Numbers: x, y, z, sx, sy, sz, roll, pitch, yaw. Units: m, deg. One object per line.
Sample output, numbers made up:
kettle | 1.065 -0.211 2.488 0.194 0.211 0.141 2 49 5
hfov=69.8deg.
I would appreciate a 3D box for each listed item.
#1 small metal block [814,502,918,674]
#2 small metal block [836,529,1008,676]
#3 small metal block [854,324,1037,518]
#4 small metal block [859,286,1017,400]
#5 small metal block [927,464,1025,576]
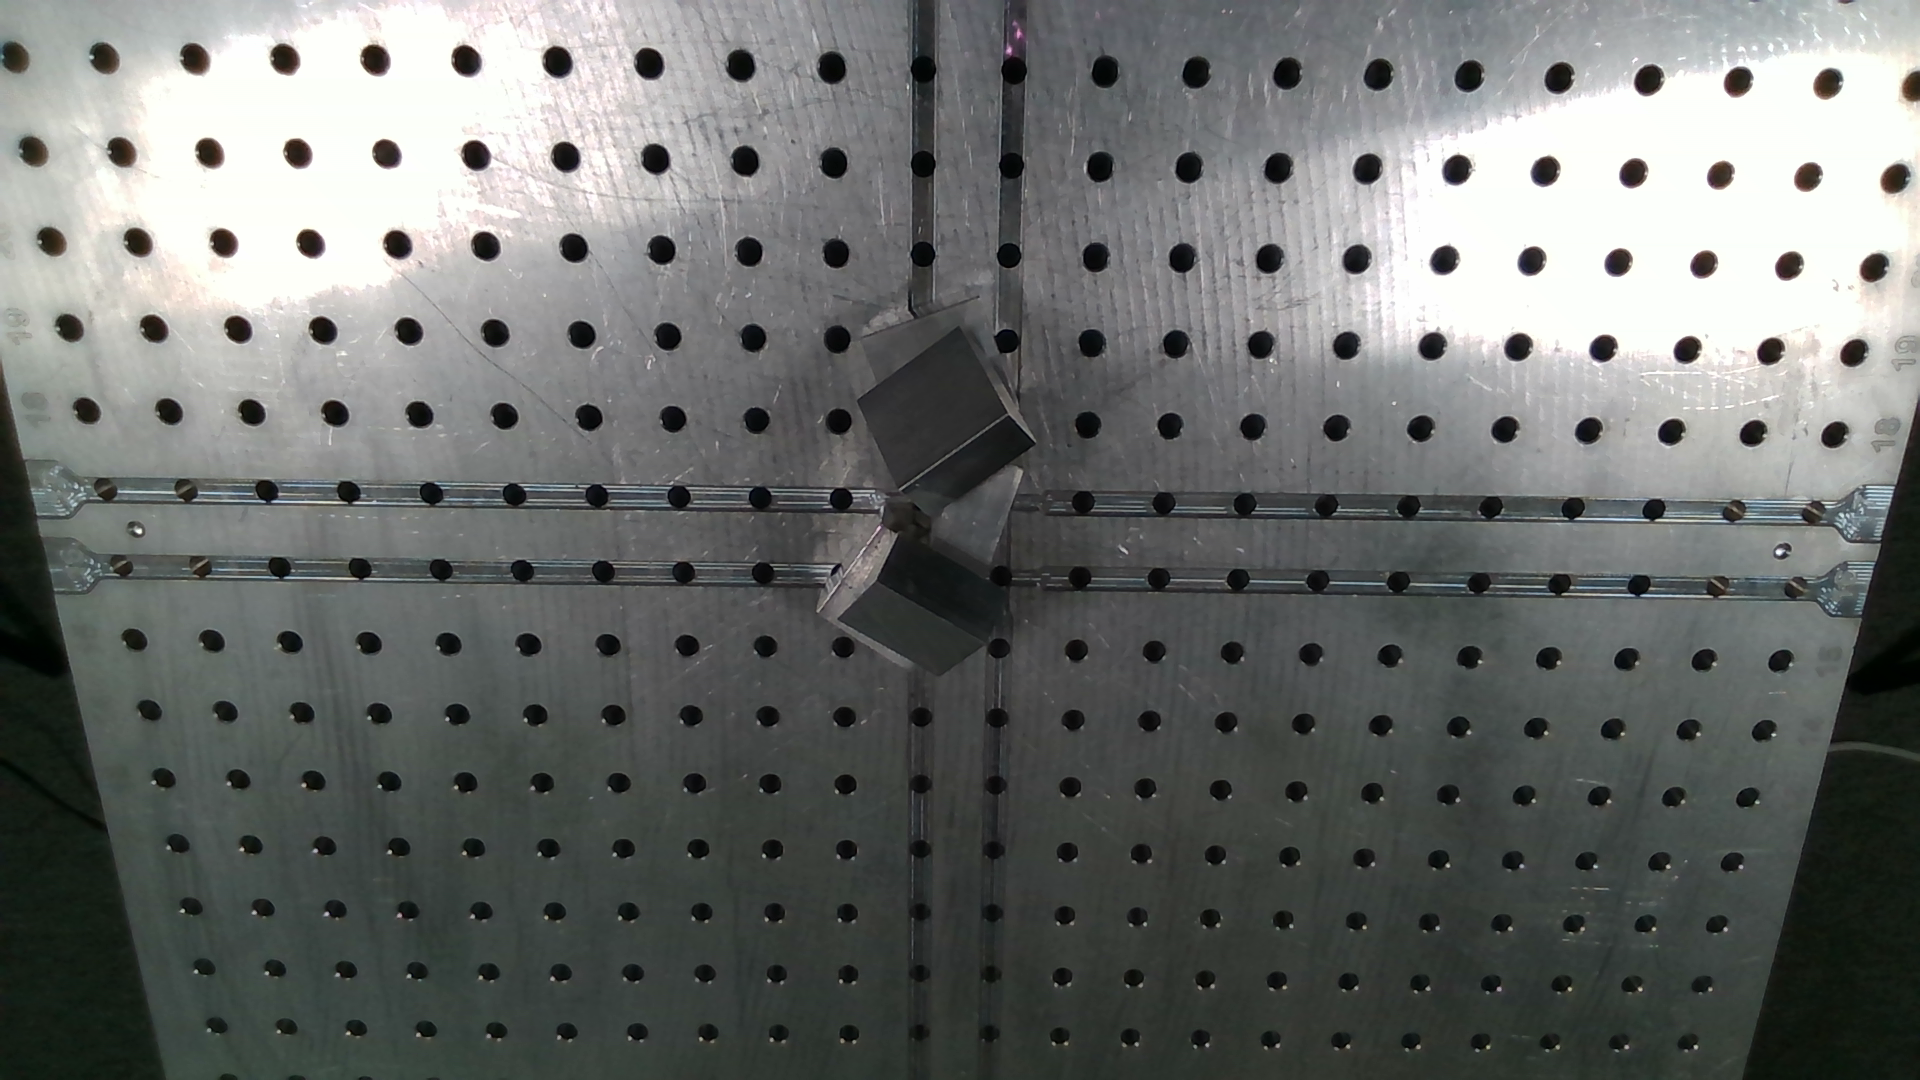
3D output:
small metal block | -0.027 0.021 0.595 0.050 0.025 0.050 34 107 -12
small metal block | -0.016 0.026 0.555 0.050 0.025 0.050 29 152 -11
small metal block | -0.006 -0.046 0.527 0.050 0.050 0.025 -35 145 12
small metal block | -0.008 -0.070 0.561 0.050 0.025 0.050 -18 109 7
small metal block | 0.005 -0.018 0.567 0.025 0.050 0.050 18 109 -6
